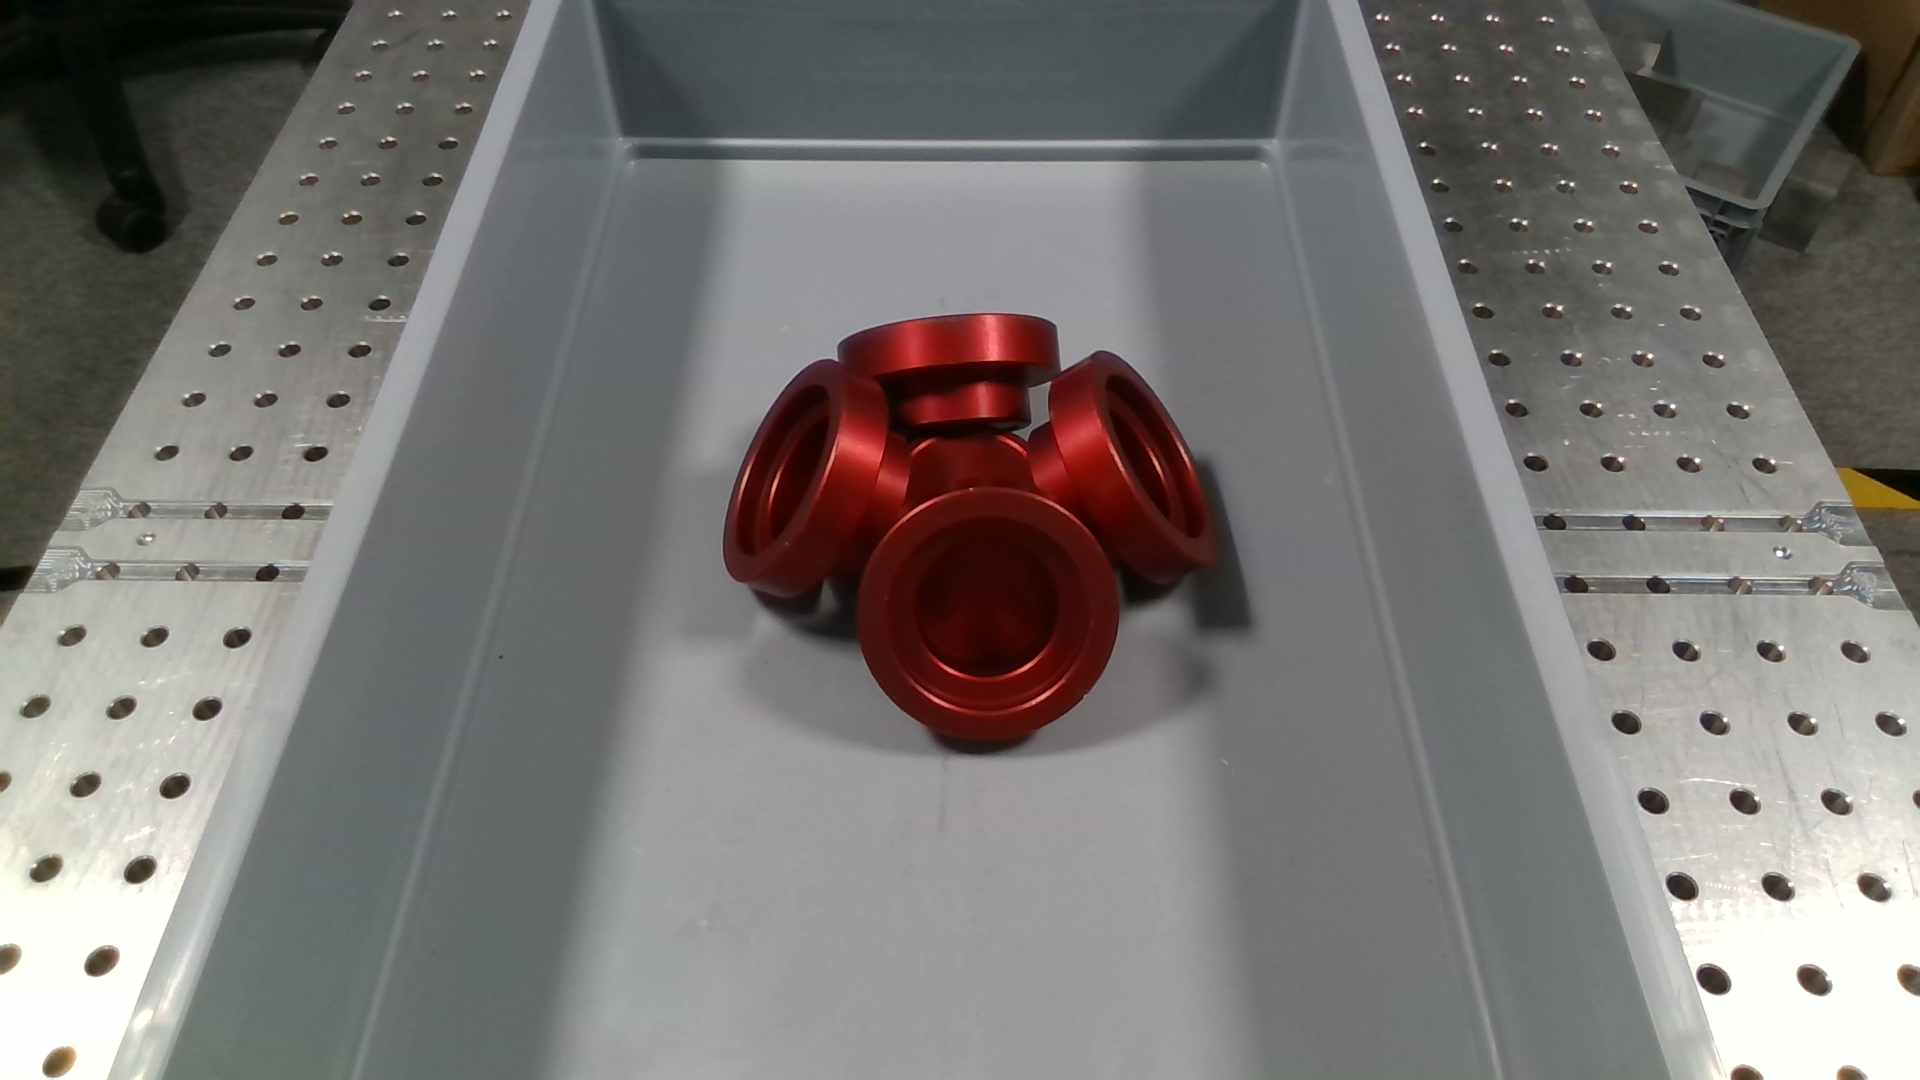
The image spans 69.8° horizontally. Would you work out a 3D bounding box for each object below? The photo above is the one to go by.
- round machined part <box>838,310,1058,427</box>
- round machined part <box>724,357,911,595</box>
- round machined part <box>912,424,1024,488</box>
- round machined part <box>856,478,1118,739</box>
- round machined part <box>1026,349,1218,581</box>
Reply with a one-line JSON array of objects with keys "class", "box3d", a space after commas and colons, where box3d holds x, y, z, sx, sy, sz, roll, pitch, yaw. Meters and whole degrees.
[{"class": "round machined part", "box3d": [-0.004, -0.070, 0.609, 0.098, 0.098, 0.042, -5, 87, -4]}, {"class": "round machined part", "box3d": [-0.056, -0.022, 0.568, 0.042, 0.098, 0.098, 24, 44, -28]}, {"class": "round machined part", "box3d": [0.004, -0.012, 0.584, 0.098, 0.042, 0.098, 0, 50, 0]}, {"class": "round machined part", "box3d": [0.010, 0.023, 0.532, 0.098, 0.098, 0.042, -2, 14, -2]}, {"class": "round machined part", "box3d": [0.064, -0.027, 0.572, 0.042, 0.098, 0.098, -29, 45, 26]}]
